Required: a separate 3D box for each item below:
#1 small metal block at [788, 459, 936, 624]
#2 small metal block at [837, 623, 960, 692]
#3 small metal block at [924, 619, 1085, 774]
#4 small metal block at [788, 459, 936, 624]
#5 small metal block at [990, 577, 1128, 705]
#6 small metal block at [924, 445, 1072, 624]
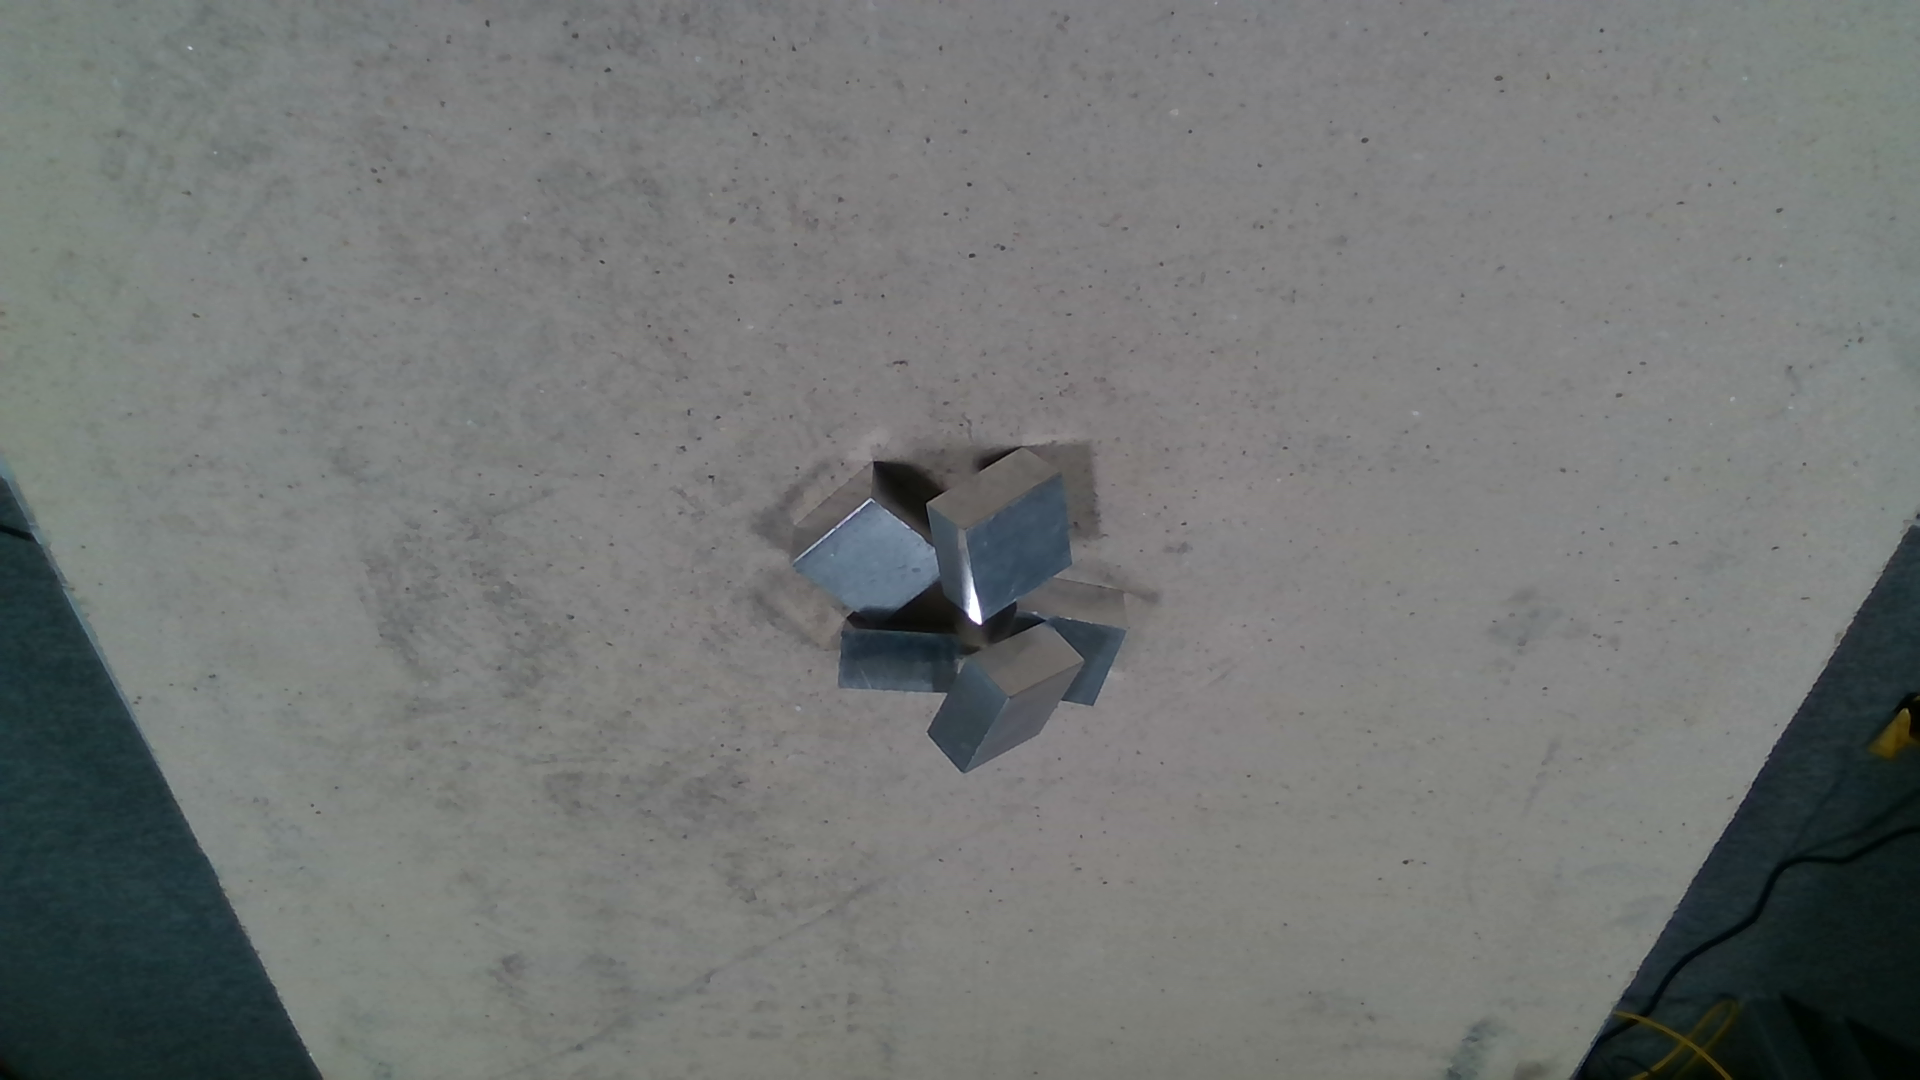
[{"bbox_3d":[-0.036,0.002,0.581,0.050,0.025,0.050,-37,121,27],"label":"small metal block"},{"bbox_3d":[-0.027,0.050,0.602,0.050,0.050,0.025,3,91,-3],"label":"small metal block"},{"bbox_3d":[0.019,0.066,0.585,0.050,0.025,0.050,-19,147,-44],"label":"small metal block"},{"bbox_3d":[-0.036,0.002,0.581,0.050,0.025,0.050,-38,121,27],"label":"small metal block"},{"bbox_3d":[0.042,0.044,0.617,0.050,0.025,0.050,11,129,-9],"label":"small metal block"},{"bbox_3d":[0.016,-0.002,0.561,0.050,0.025,0.050,-31,134,-23],"label":"small metal block"}]
